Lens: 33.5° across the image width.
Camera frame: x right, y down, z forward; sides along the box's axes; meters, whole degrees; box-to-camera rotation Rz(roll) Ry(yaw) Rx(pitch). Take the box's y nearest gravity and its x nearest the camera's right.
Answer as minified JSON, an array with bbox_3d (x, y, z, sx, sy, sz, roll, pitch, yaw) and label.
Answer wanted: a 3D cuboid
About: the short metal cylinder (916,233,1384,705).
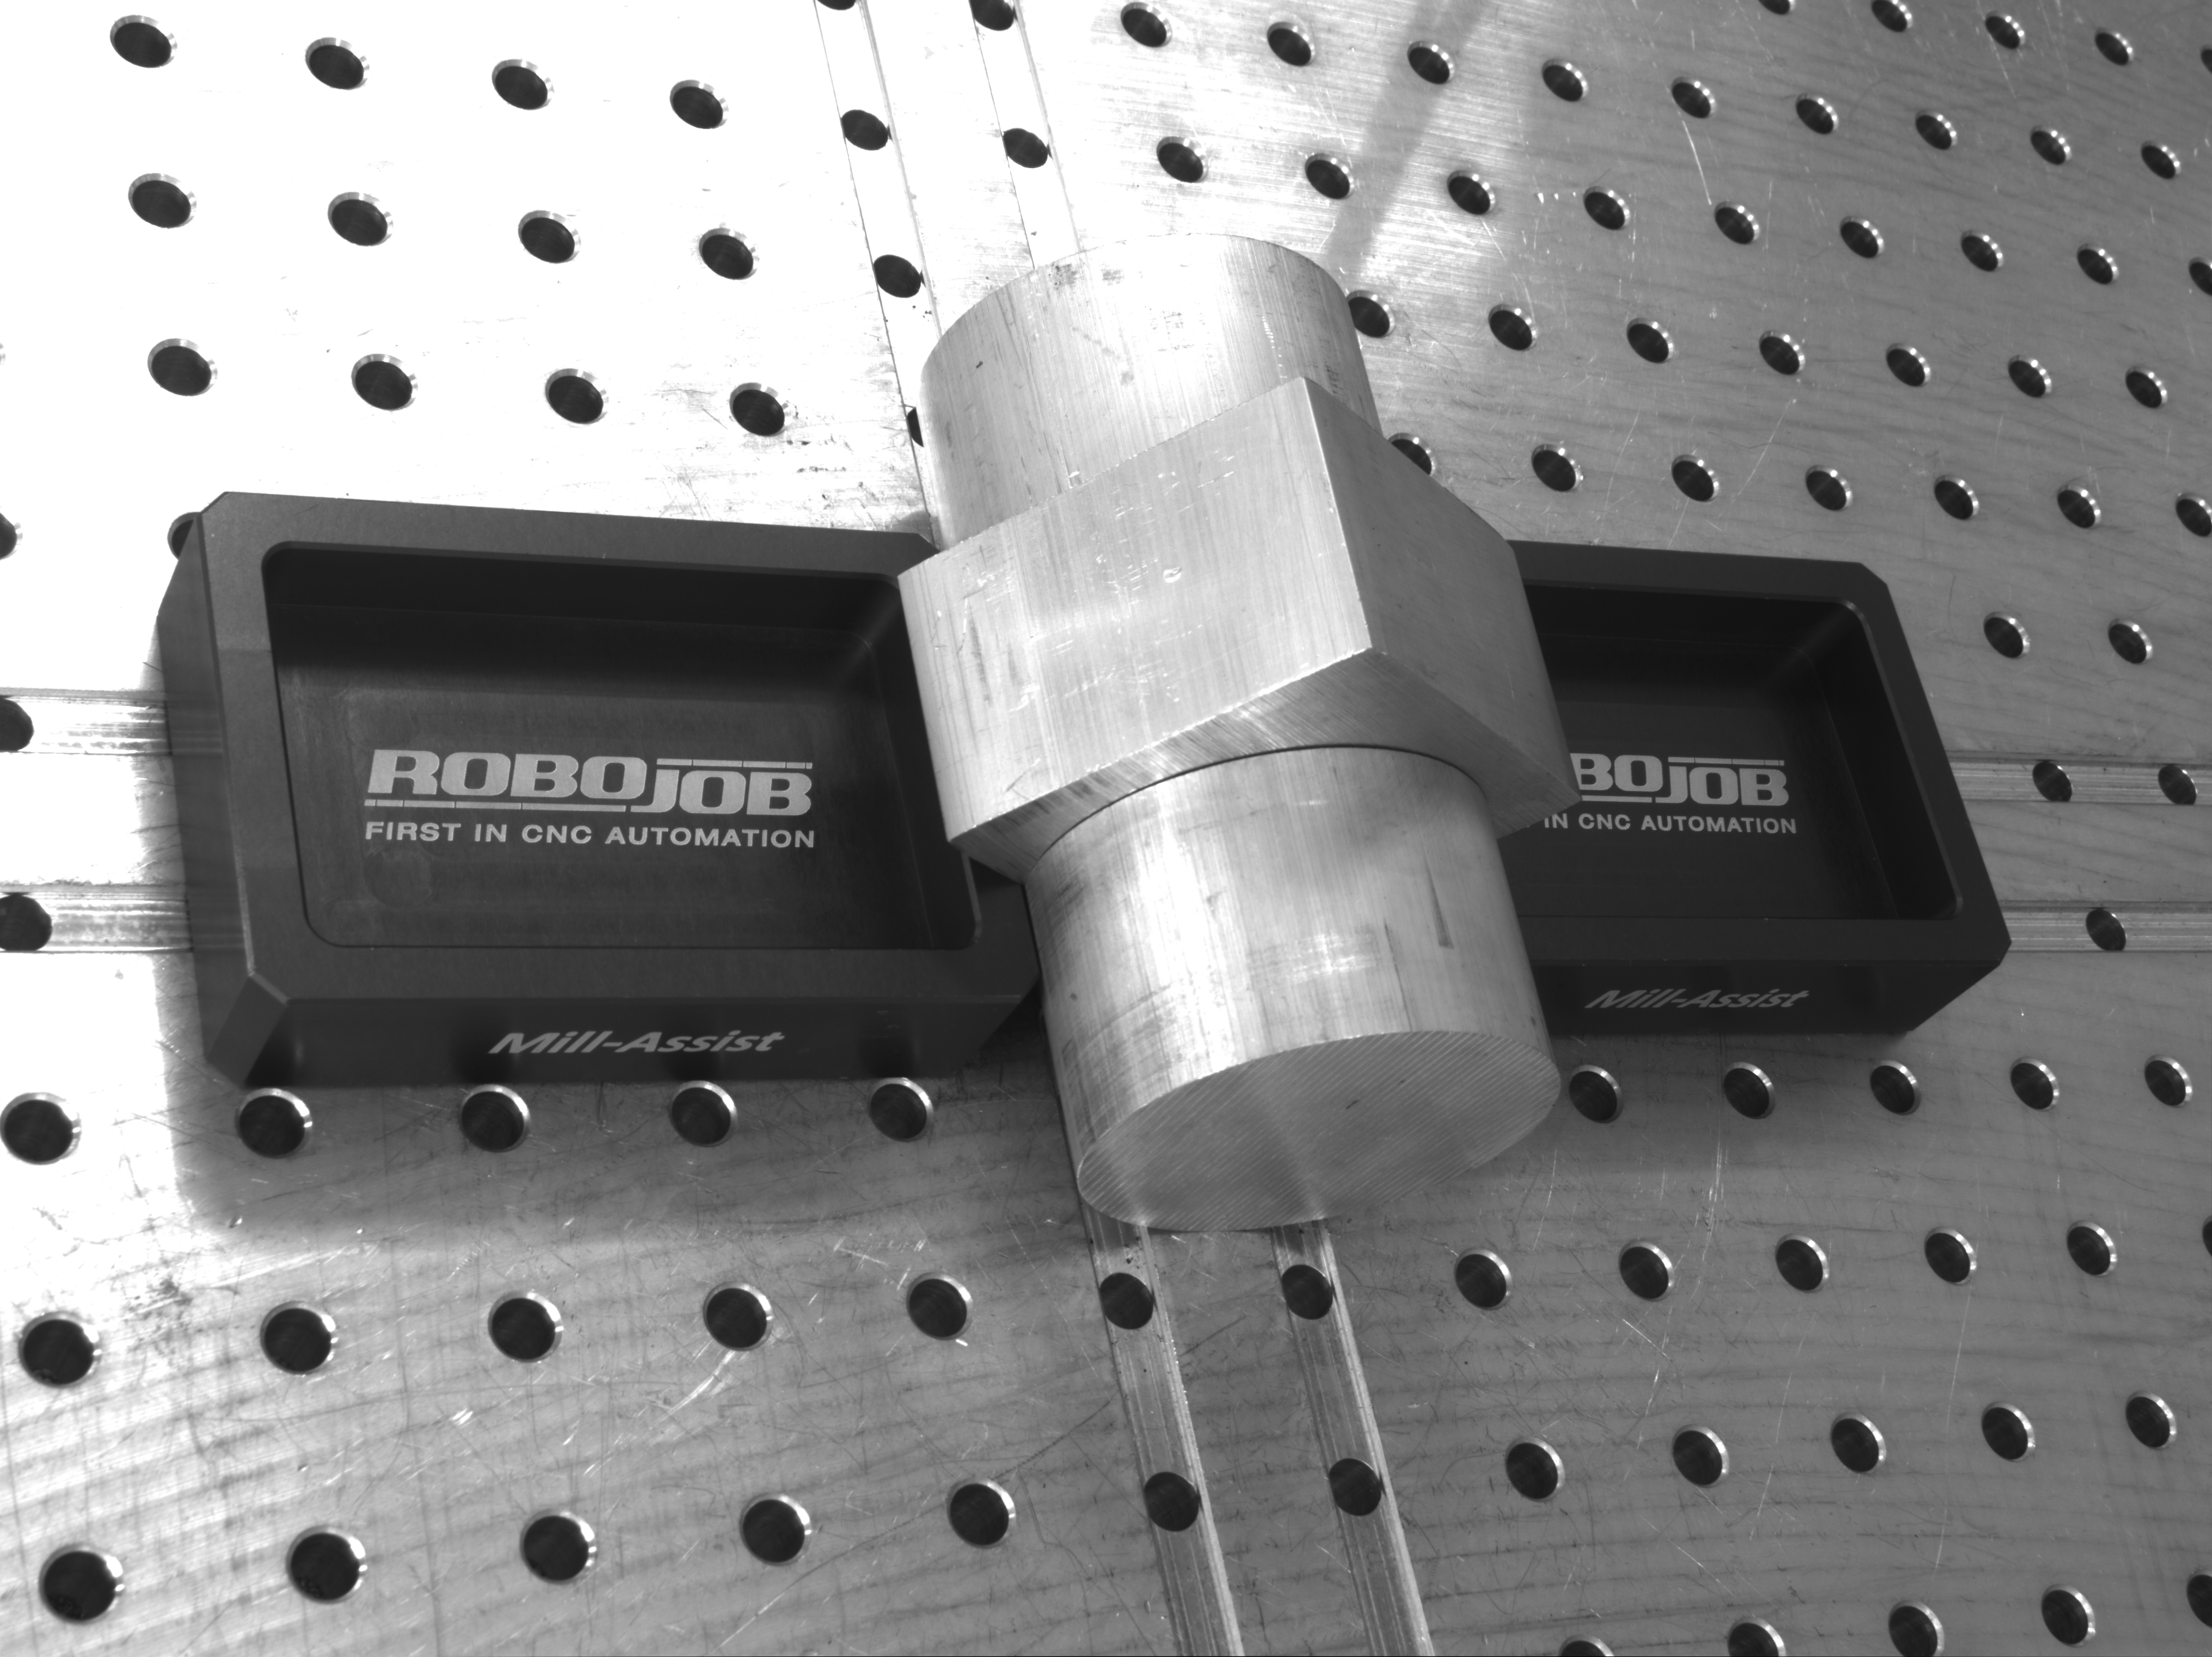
[{"bbox_3d":[0.010,-0.061,0.649,0.080,0.080,0.050,1,61,-27],"label":"short metal cylinder"}]

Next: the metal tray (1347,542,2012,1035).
[{"bbox_3d":[0.101,-0.008,0.697,0.130,0.030,0.090,1,61,-28],"label":"metal tray"}]

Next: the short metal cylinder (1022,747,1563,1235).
[{"bbox_3d":[0.030,0.028,0.606,0.080,0.080,0.050,2,61,-27],"label":"short metal cylinder"}]

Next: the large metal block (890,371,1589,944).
[{"bbox_3d":[0.023,-0.023,0.615,0.080,0.080,0.050,31,41,-54],"label":"large metal block"}]

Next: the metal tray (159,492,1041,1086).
[{"bbox_3d":[-0.082,-0.006,0.598,0.130,0.030,0.090,1,61,-27],"label":"metal tray"}]
